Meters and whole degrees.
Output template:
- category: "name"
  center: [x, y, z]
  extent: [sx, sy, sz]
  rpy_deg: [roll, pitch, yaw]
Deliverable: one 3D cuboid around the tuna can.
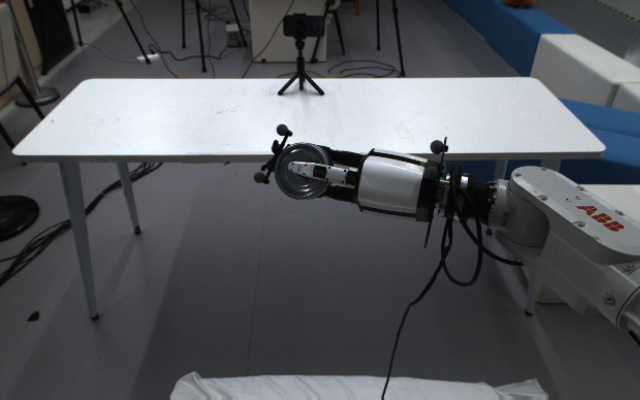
- category: "tuna can"
  center: [-0.021, -0.040, 0.717]
  extent: [0.085, 0.085, 0.034]
  rpy_deg: [9, 5, 10]
